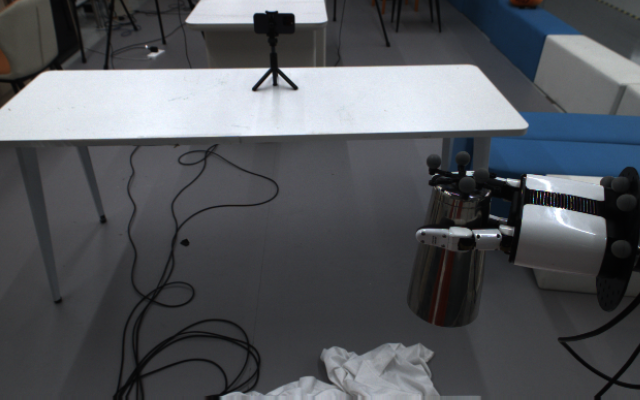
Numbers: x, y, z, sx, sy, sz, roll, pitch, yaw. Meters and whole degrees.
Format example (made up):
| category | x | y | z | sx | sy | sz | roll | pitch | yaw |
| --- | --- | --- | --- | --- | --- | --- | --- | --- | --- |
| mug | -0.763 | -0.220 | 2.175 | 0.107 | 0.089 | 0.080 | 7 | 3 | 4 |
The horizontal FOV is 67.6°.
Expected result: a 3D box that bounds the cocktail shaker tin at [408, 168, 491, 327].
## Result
| category | x | y | z | sx | sy | sz | roll | pitch | yaw |
| --- | --- | --- | --- | --- | --- | --- | --- | --- | --- |
| cocktail shaker tin | 0.165 | 0.056 | 0.599 | 0.093 | 0.170 | 0.093 | 1 | 27 | -1 |
